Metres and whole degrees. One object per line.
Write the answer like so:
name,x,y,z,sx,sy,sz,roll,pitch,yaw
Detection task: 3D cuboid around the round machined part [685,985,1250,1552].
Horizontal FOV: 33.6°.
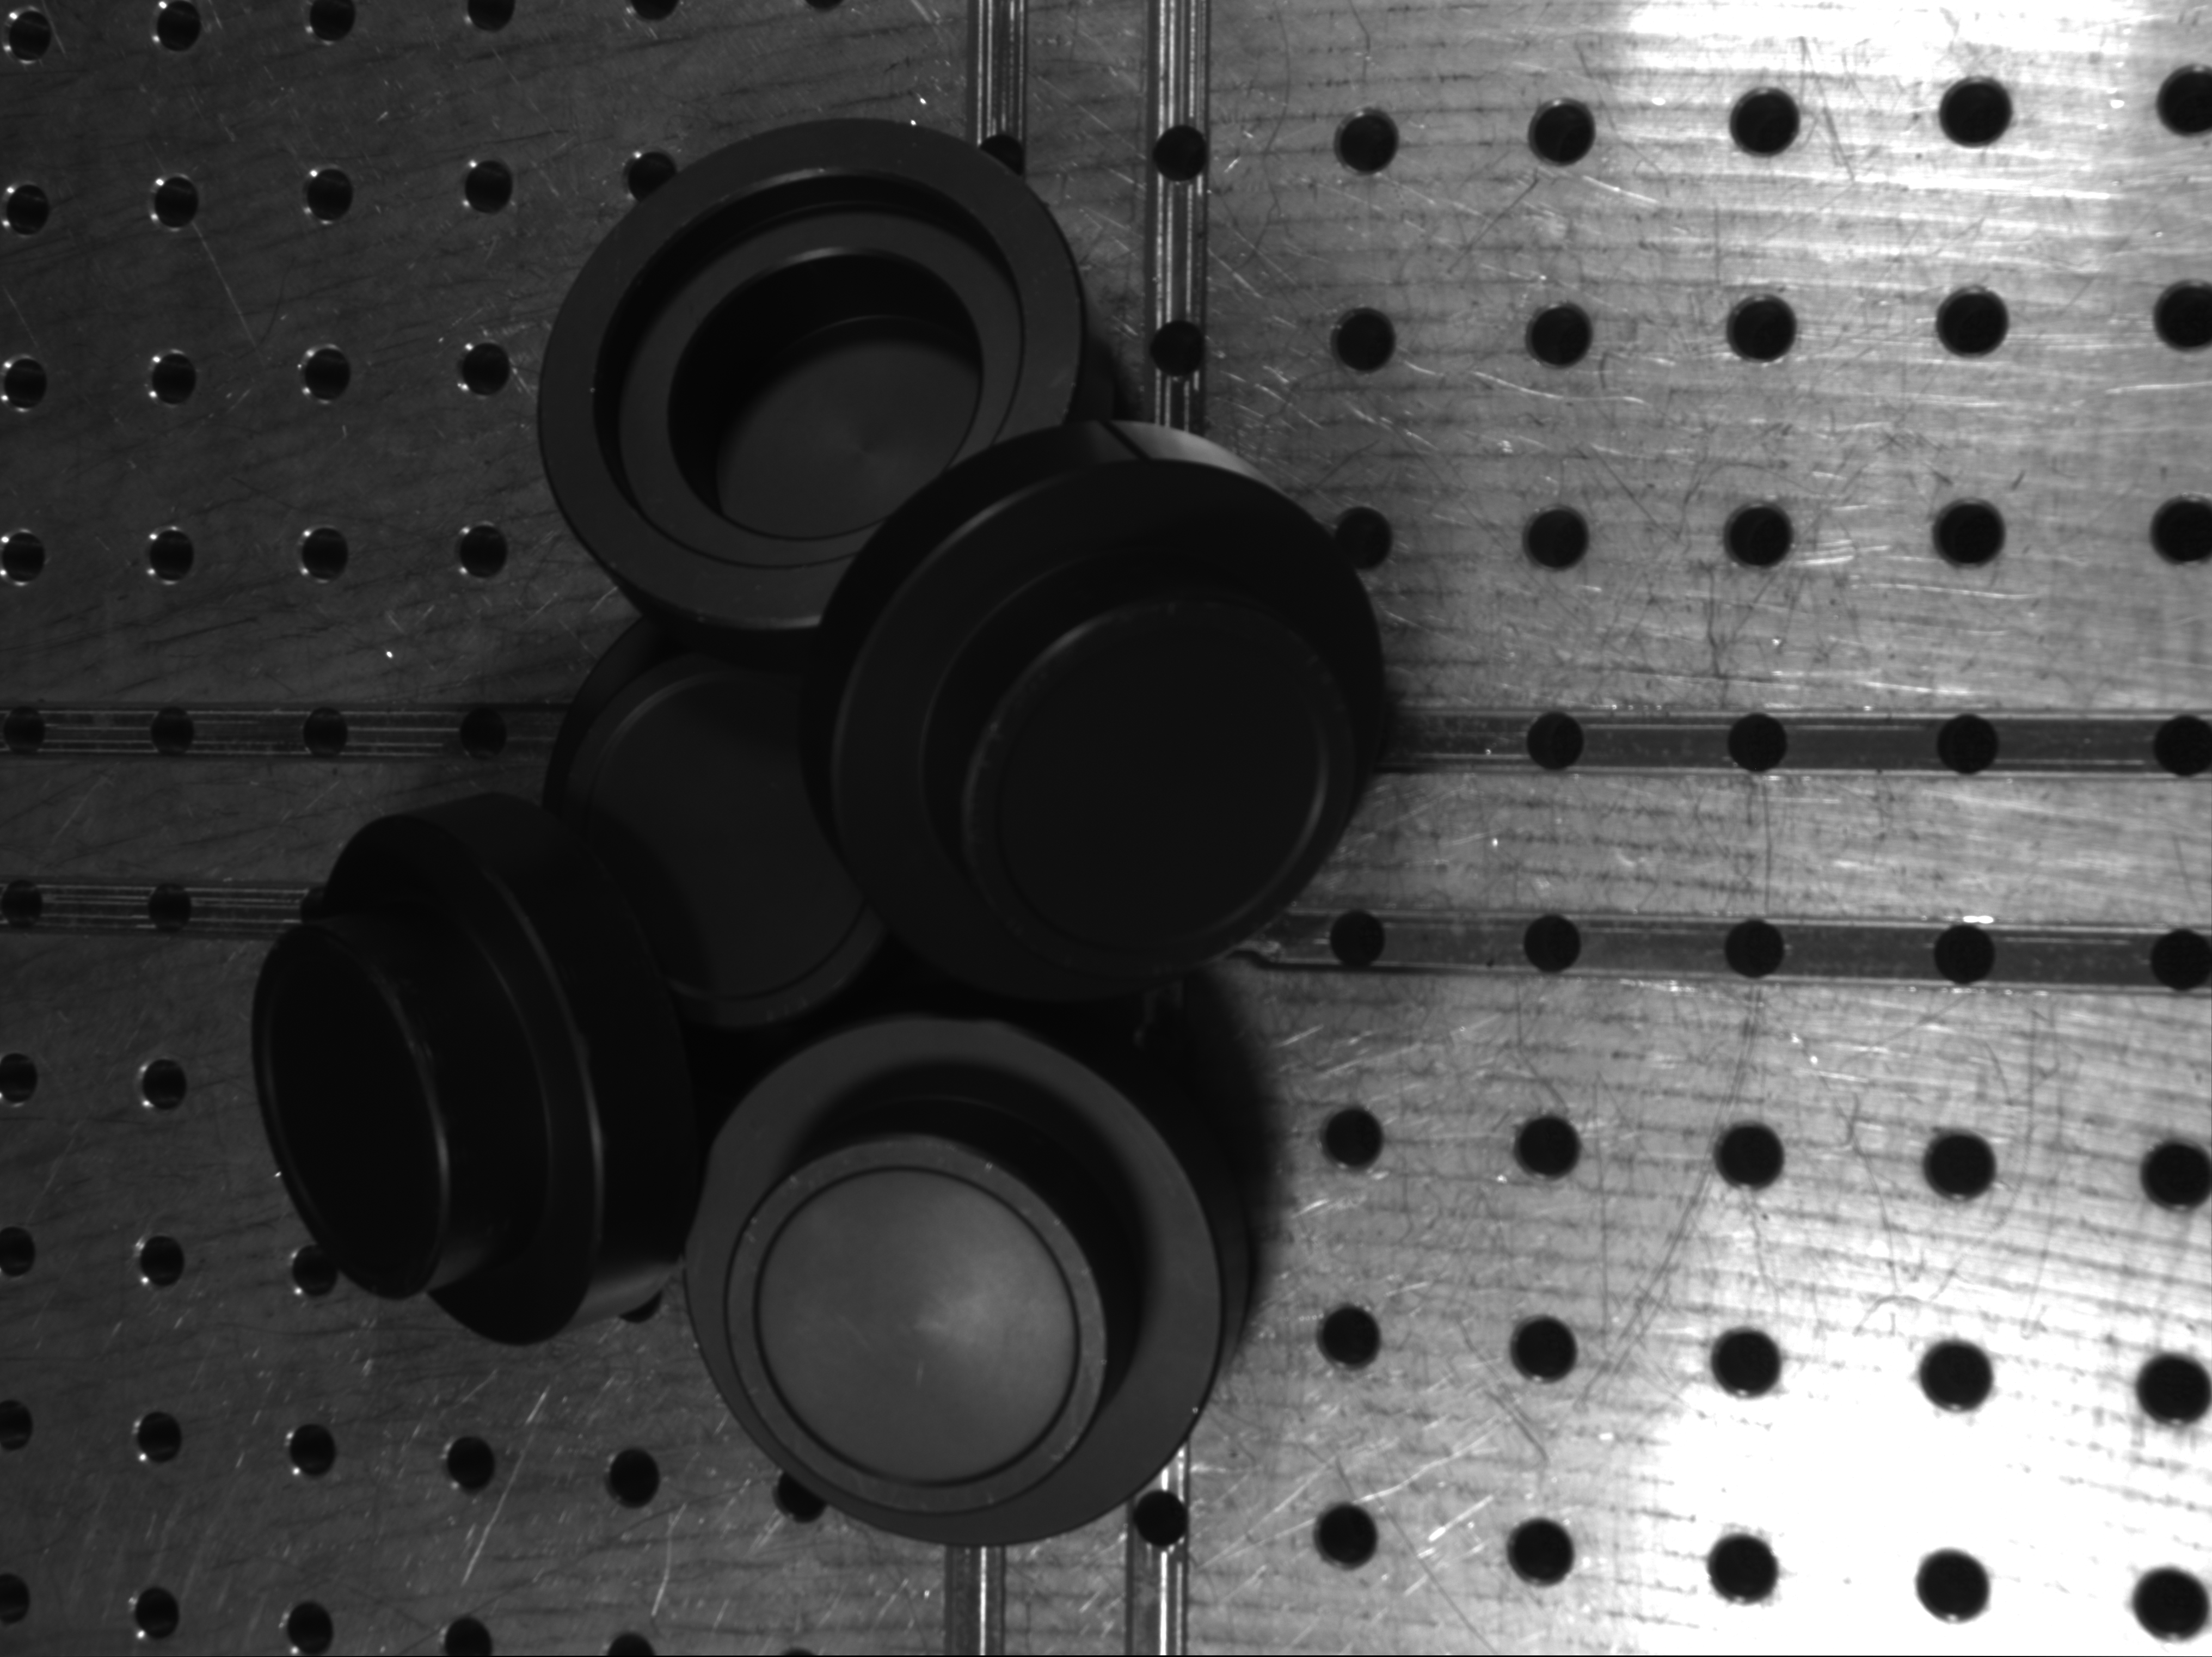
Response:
round machined part,-0.027,0.079,0.634,0.098,0.042,0.098,3,102,13

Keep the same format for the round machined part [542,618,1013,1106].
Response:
round machined part,-0.059,0.002,0.658,0.098,0.042,0.098,0,90,20

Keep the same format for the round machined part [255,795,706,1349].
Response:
round machined part,-0.117,0.046,0.654,0.098,0.042,0.098,20,117,45

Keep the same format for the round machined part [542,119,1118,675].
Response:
round machined part,-0.045,-0.071,0.642,0.098,0.042,0.098,-5,68,12

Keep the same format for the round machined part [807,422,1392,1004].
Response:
round machined part,0.003,-0.014,0.605,0.098,0.098,0.042,-58,32,11
